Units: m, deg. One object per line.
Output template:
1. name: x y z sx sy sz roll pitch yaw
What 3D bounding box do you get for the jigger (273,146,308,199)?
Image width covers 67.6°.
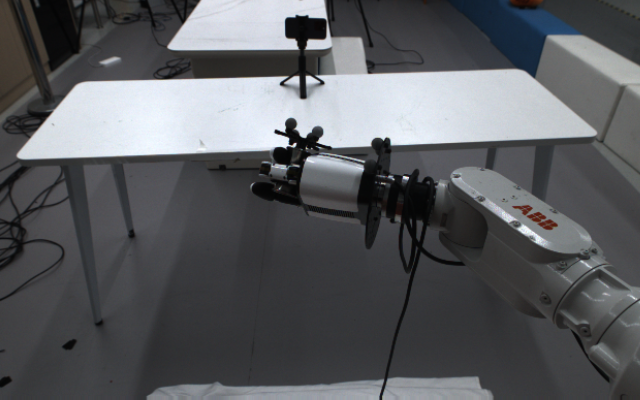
1. jigger: -0.040 -0.041 0.711 0.043 0.071 0.043 18 -6 2
